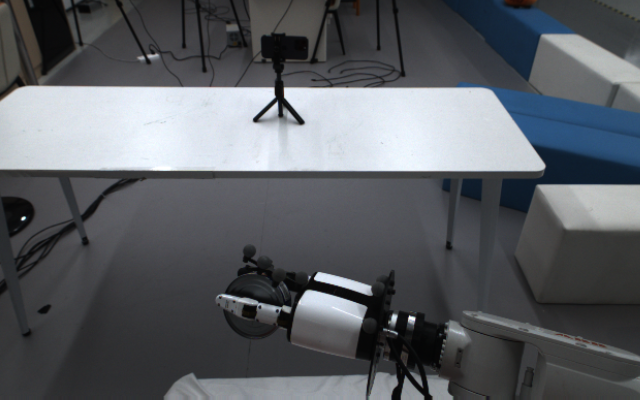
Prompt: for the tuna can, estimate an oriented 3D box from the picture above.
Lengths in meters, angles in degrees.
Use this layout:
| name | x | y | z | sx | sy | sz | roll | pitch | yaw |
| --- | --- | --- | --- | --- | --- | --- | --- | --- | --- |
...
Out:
| name | x | y | z | sx | sy | sz | roll | pitch | yaw |
| --- | --- | --- | --- | --- | --- | --- | --- | --- | --- |
| tuna can | -0.080 | 0.136 | 0.636 | 0.085 | 0.085 | 0.034 | 13 | 2 | 16 |
